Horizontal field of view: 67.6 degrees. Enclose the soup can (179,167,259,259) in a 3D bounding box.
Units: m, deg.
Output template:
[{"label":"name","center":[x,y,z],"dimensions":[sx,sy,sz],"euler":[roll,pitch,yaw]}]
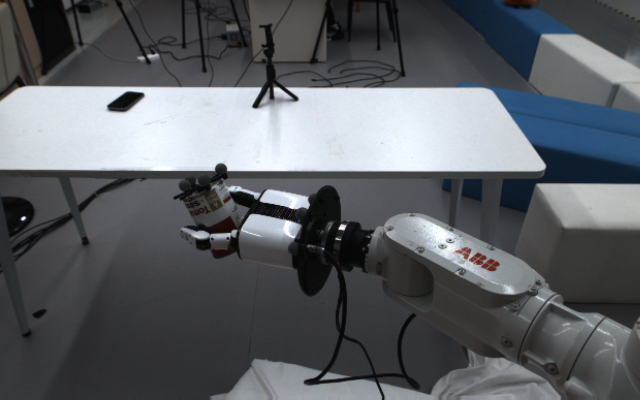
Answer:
[{"label":"soup can","center":[-0.153,0.030,0.732],"dimensions":[0.067,0.101,0.067],"euler":[-23,16,7]}]
